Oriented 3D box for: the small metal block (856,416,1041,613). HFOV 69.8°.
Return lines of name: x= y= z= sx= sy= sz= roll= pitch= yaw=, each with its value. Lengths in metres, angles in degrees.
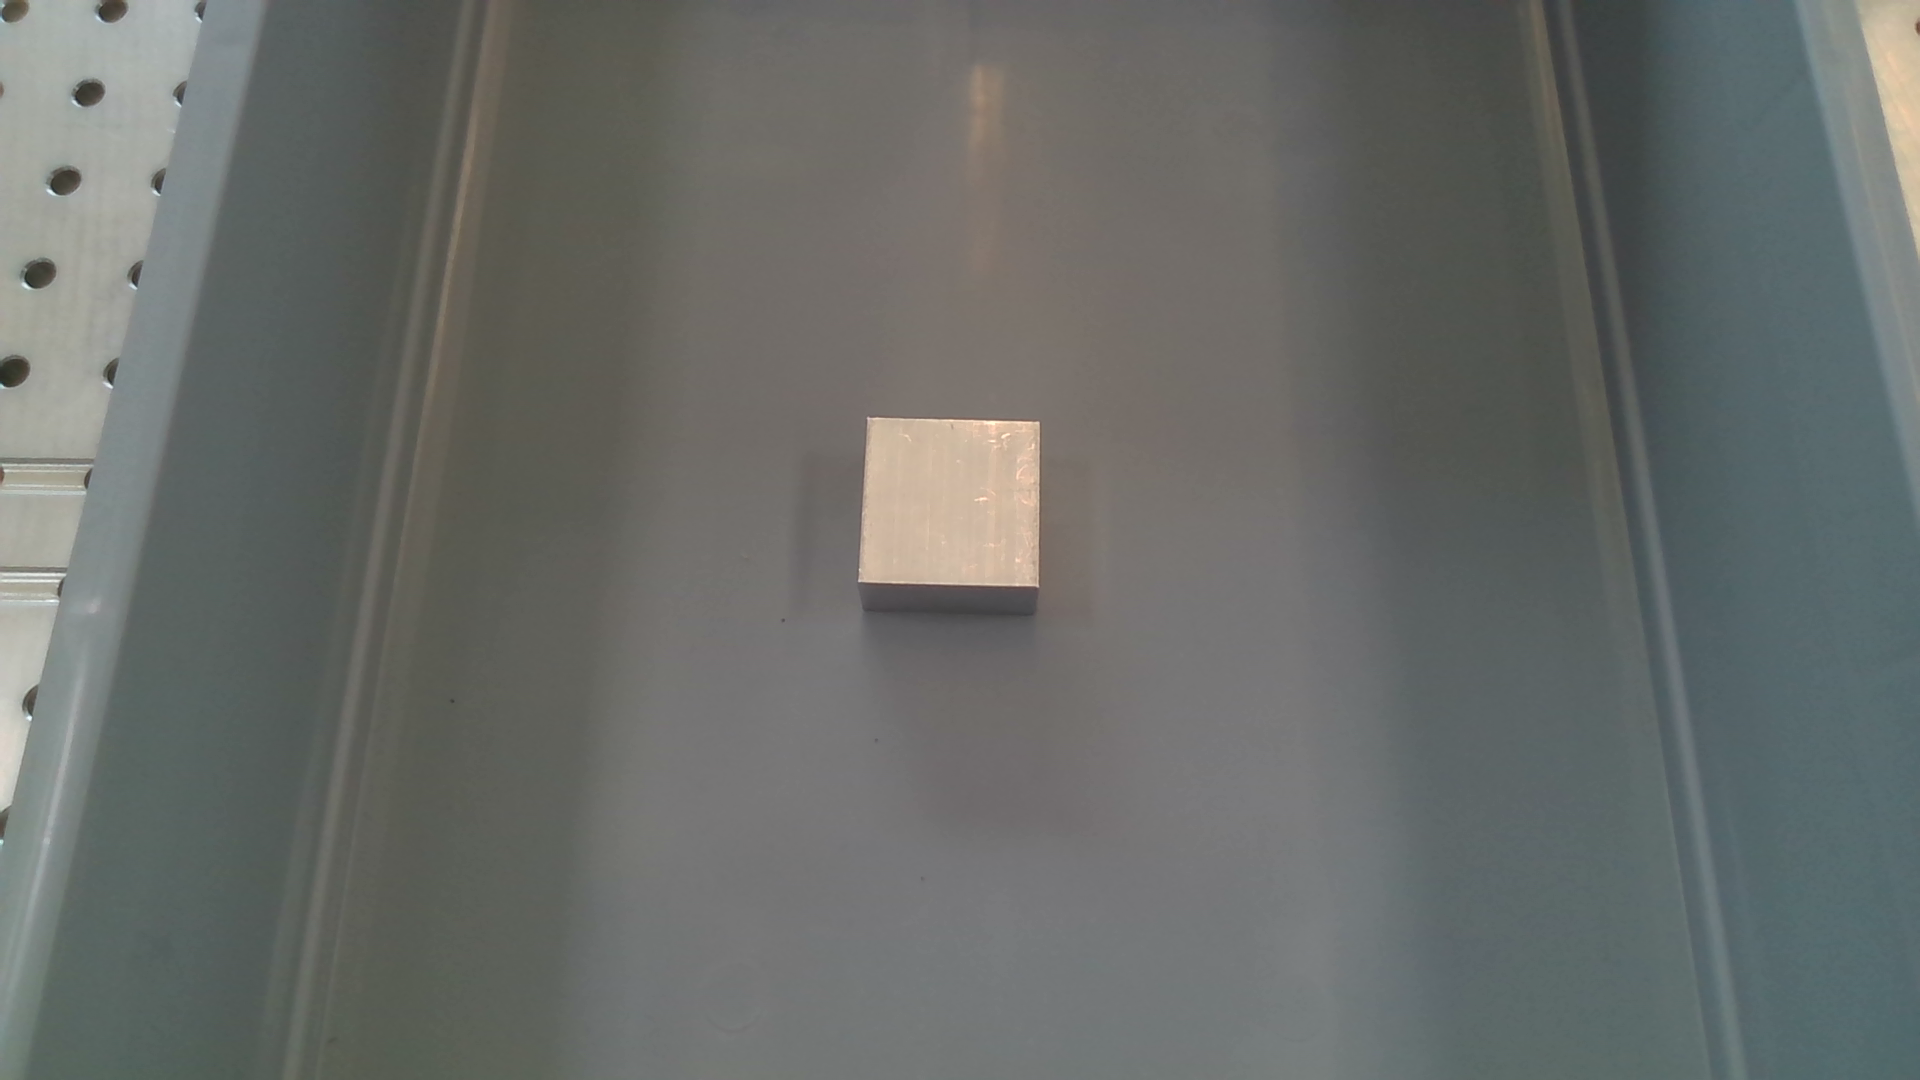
small metal block: x=-0.003 y=-0.007 z=0.394 sx=0.050 sy=0.025 sz=0.050 roll=1 pitch=70 yaw=1
